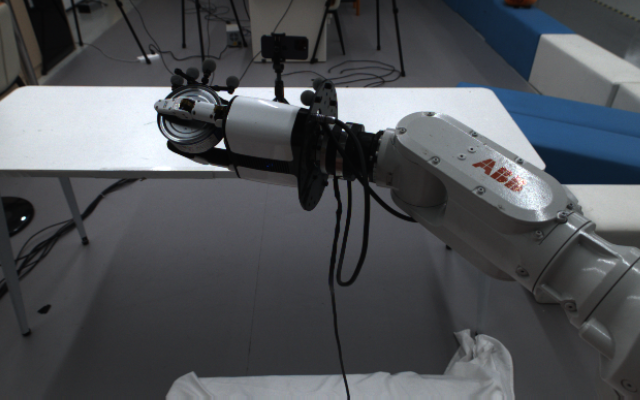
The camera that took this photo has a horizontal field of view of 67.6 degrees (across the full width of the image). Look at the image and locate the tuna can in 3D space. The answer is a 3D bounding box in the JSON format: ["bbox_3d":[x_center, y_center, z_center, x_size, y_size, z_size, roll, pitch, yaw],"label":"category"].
[{"bbox_3d":[-0.163,-0.104,0.626,0.085,0.034,0.085,-3,68,8],"label":"tuna can"}]
